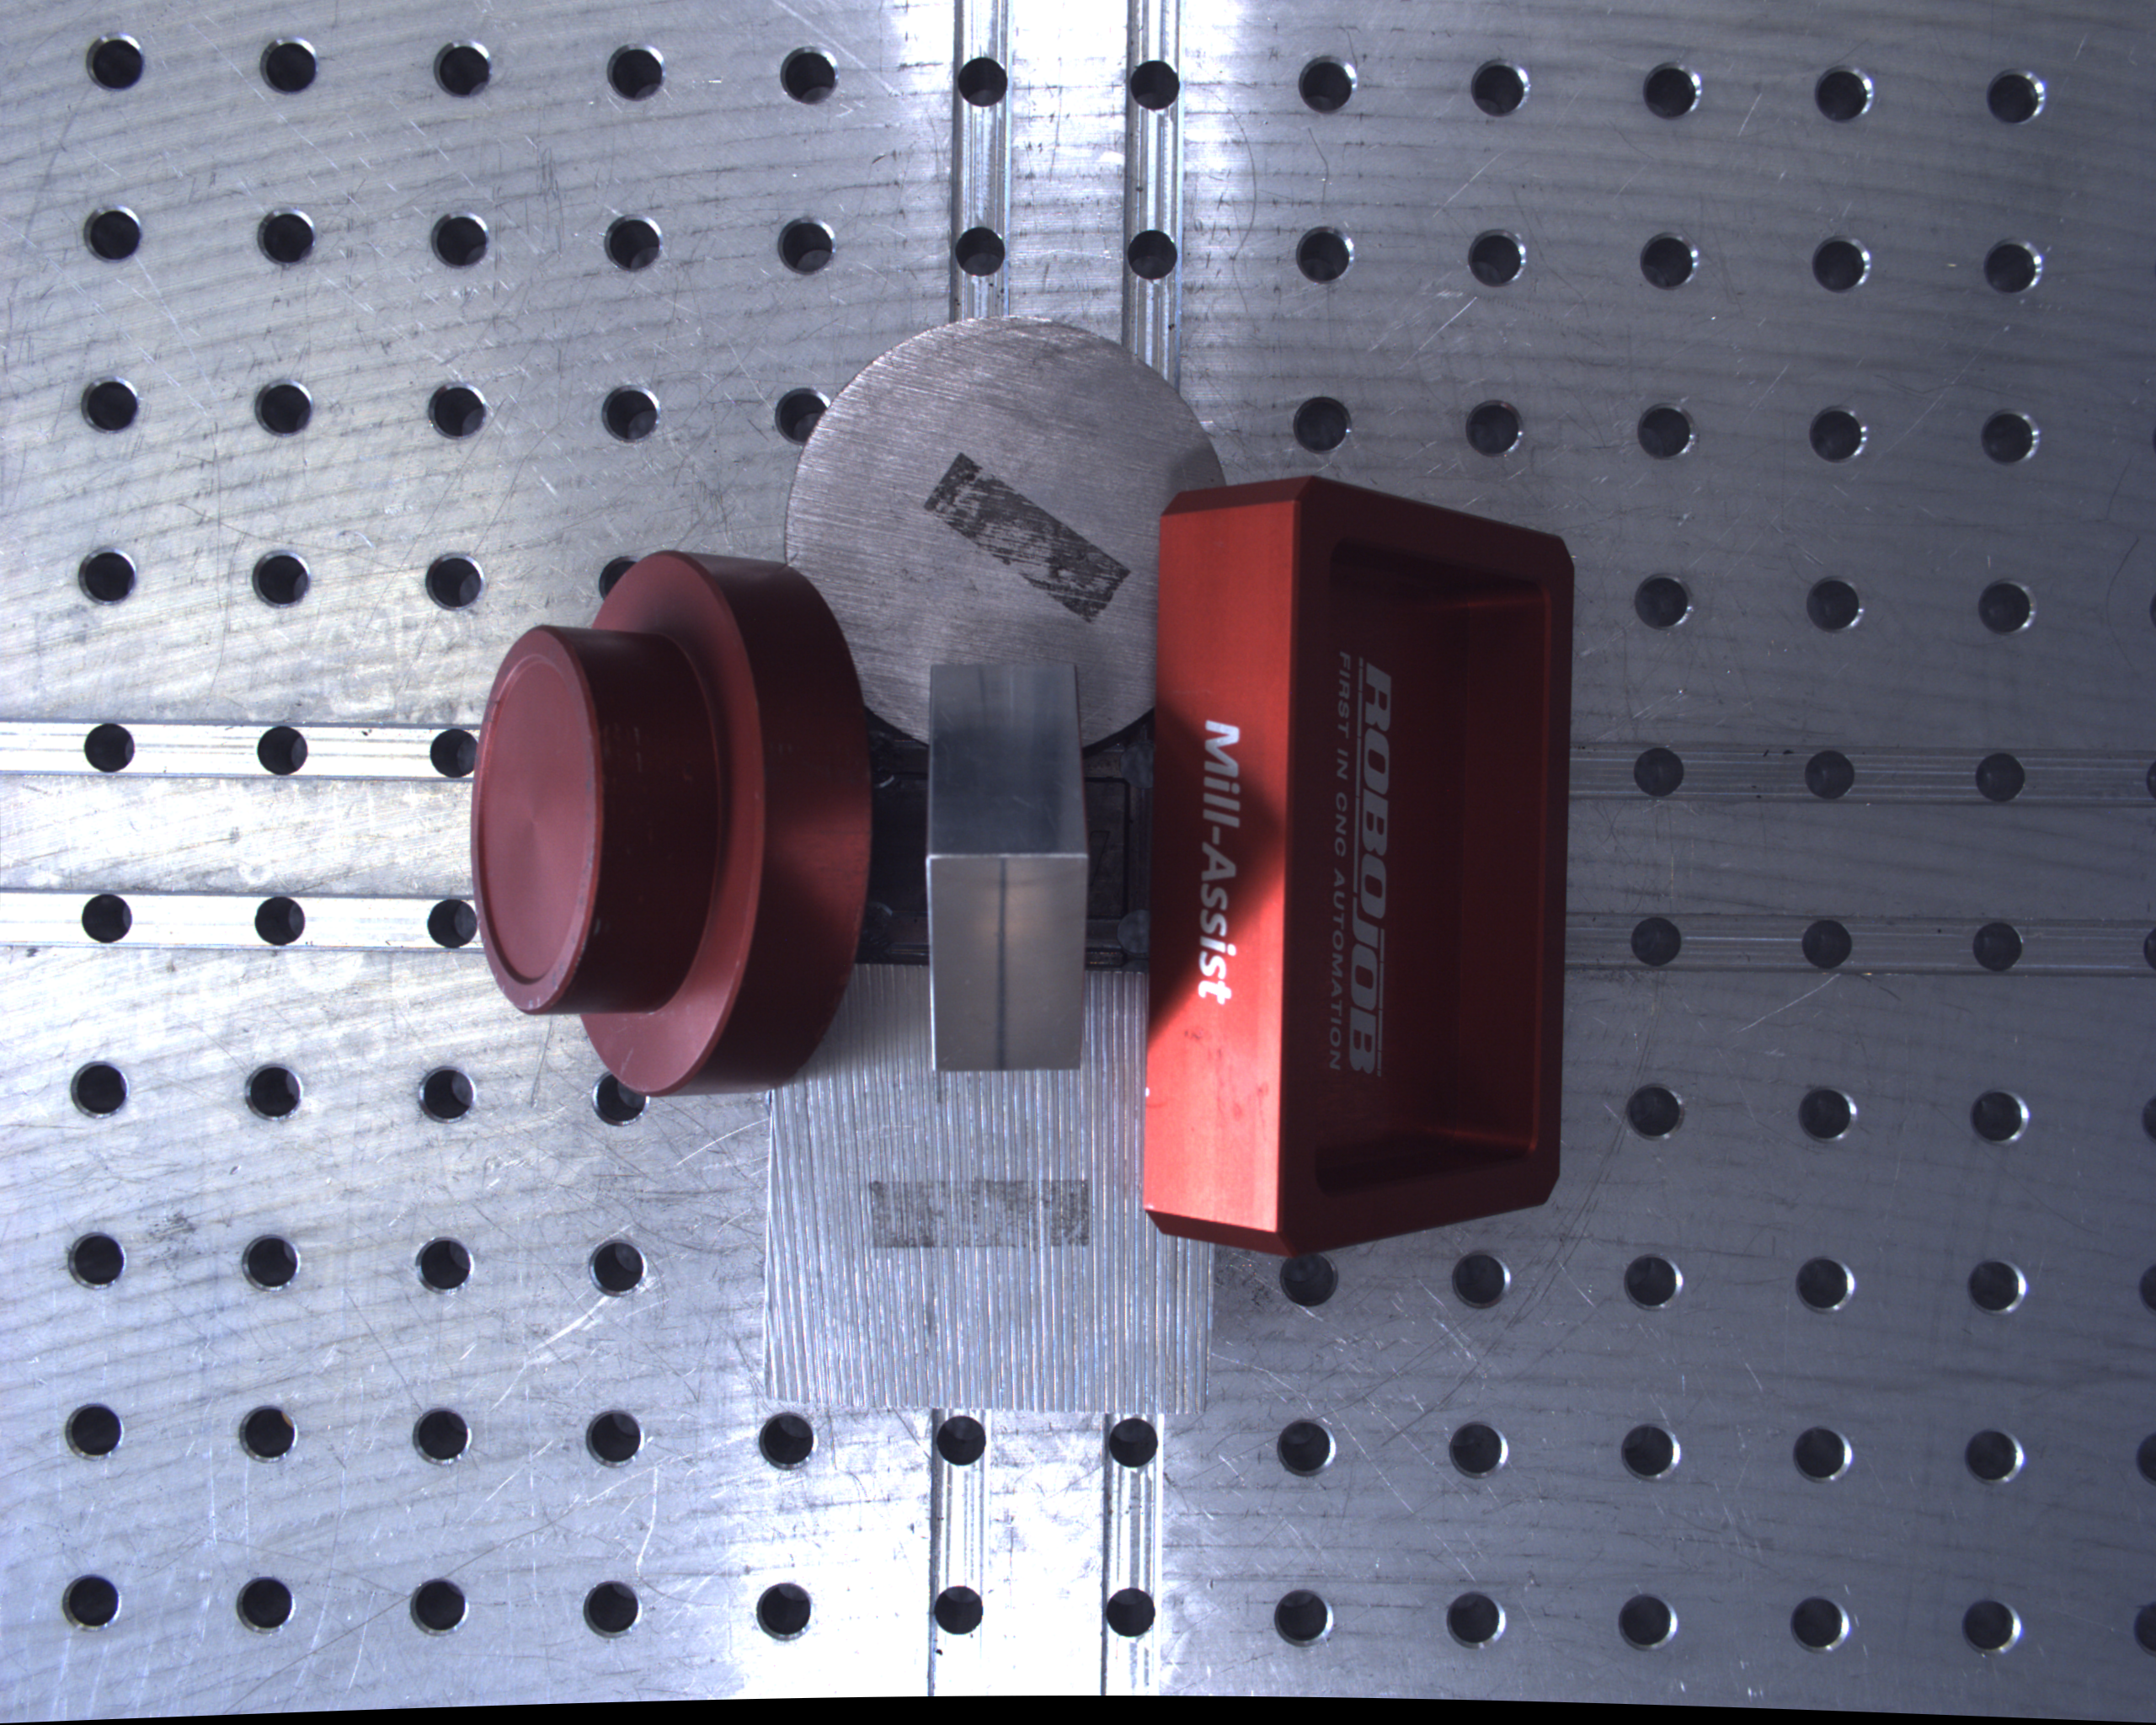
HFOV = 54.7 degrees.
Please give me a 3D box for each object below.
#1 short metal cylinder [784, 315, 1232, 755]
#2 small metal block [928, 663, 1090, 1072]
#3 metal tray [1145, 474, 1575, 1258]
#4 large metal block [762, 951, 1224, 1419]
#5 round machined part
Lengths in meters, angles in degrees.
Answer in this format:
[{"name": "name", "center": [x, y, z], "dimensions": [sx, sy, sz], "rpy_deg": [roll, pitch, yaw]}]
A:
[{"name": "short metal cylinder", "center": [-0.012, -0.059, 0.400], "dimensions": [0.081, 0.050, 0.080], "rpy_deg": [0, 90, 0]}, {"name": "small metal block", "center": [-0.013, 0.001, 0.358], "dimensions": [0.025, 0.050, 0.050], "rpy_deg": [0, 132, -3]}, {"name": "metal tray", "center": [0.054, 0.001, 0.382], "dimensions": [0.030, 0.091, 0.129], "rpy_deg": [1, 90, 43]}, {"name": "large metal block", "center": [-0.015, 0.059, 0.400], "dimensions": [0.081, 0.050, 0.080], "rpy_deg": [2, 90, 0]}, {"name": "round machined part", "center": [-0.078, -0.007, 0.372], "dimensions": [0.042, 0.098, 0.097], "rpy_deg": [1, 90, -33]}]
